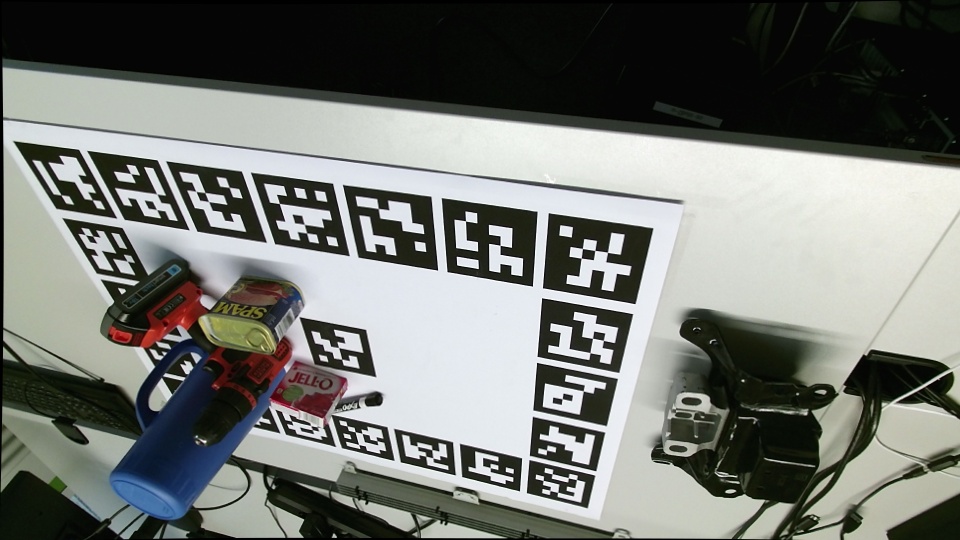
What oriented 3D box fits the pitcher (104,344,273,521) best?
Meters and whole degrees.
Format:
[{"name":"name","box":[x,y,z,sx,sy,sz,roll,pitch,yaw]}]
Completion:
[{"name":"pitcher","box":[-0.427,0.219,0.776,0.189,0.241,0.133,30,126,-14]}]

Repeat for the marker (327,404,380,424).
[{"name":"marker","box":[-0.207,0.228,0.843,0.121,0.019,0.019,-16,119,27]}]

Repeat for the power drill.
[{"name":"power drill","box":[-0.375,0.130,0.721,0.187,0.184,0.057,39,125,-5]}]

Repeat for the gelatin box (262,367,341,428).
[{"name":"gelatin box","box":[-0.267,0.191,0.803,0.089,0.073,0.030,18,125,7]}]

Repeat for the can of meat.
[{"name":"can of meat","box":[-0.298,0.062,0.703,0.102,0.083,0.058,8,130,13]}]
